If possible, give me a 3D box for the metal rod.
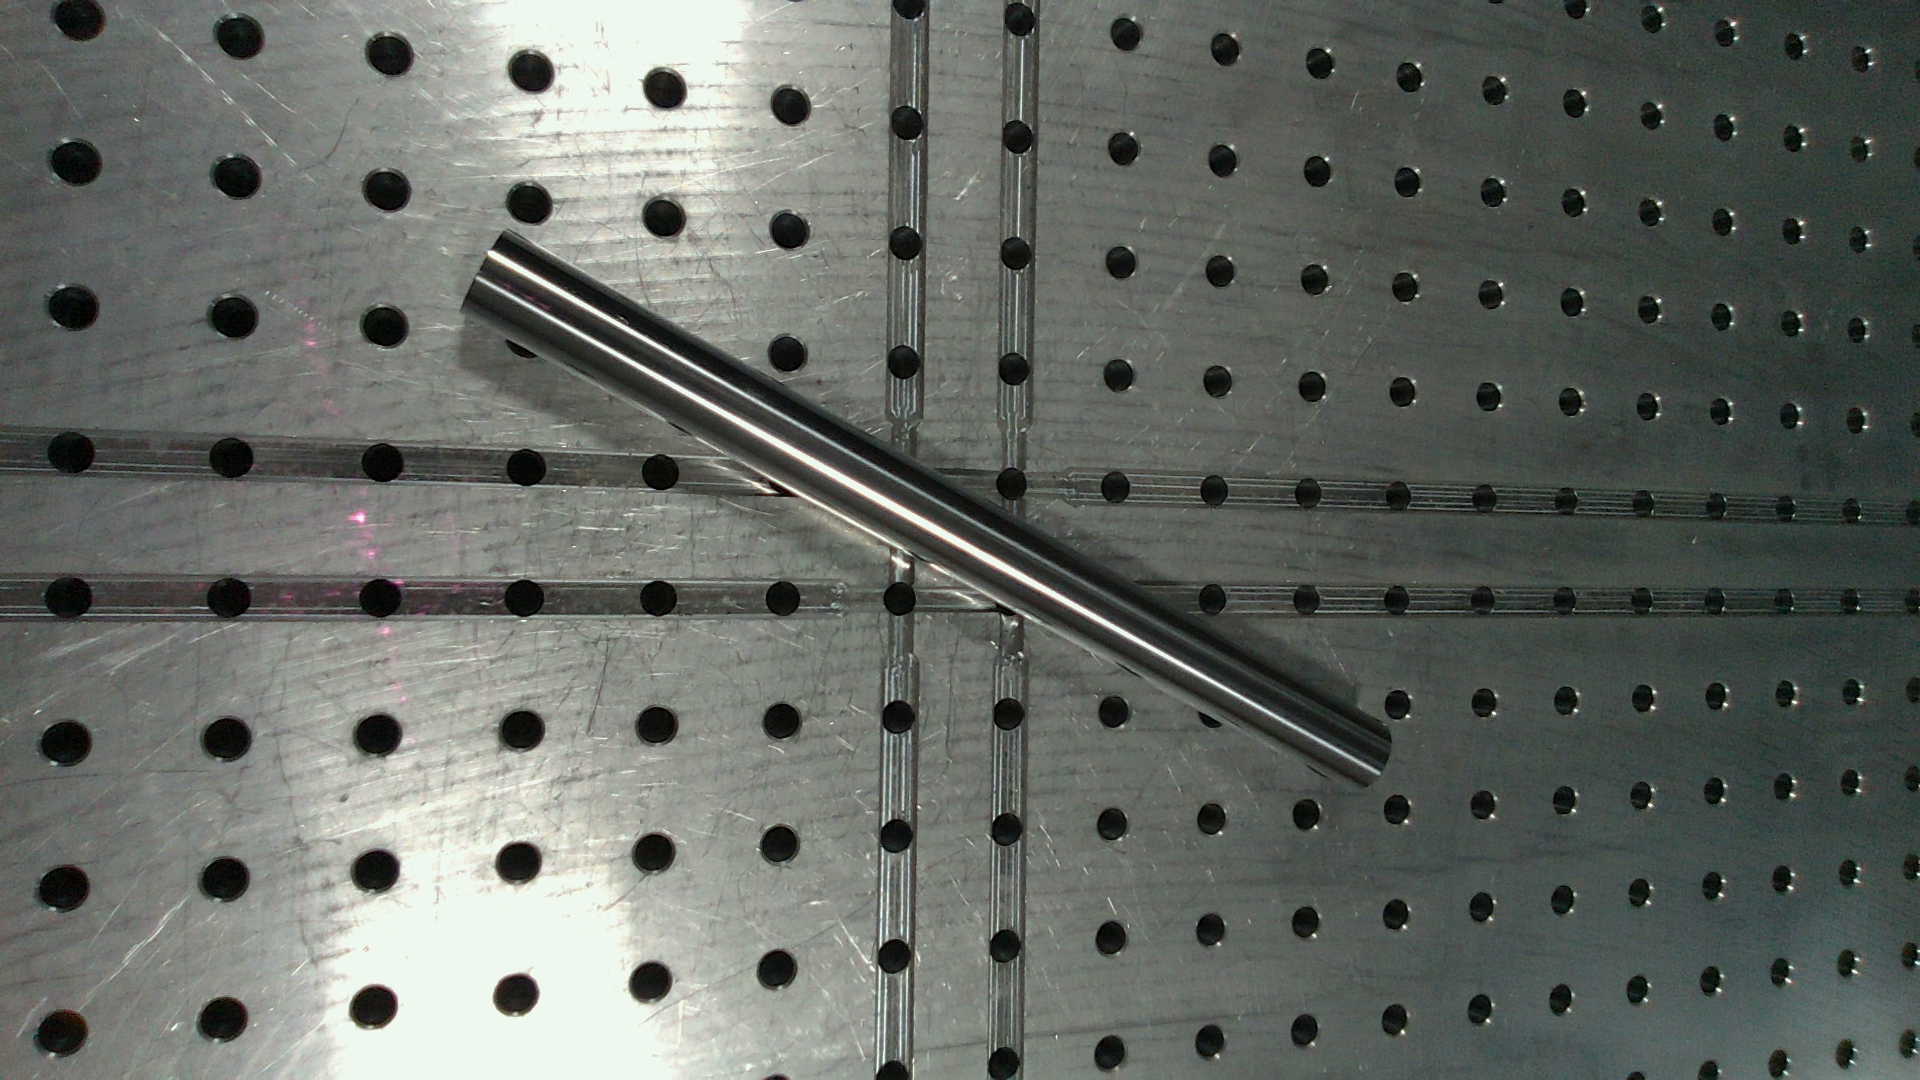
[{"bbox_3d":[0.004,0.000,0.397,0.301,0.025,0.025,29,81,-18],"label":"metal rod"}]
